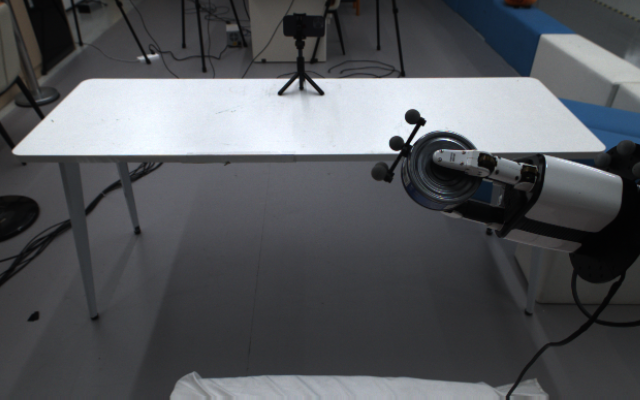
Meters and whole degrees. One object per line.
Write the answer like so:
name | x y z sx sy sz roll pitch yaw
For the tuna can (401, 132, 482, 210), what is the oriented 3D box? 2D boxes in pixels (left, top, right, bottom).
tuna can | 0.138 -0.035 0.540 0.085 0.034 0.085 1 75 -5
